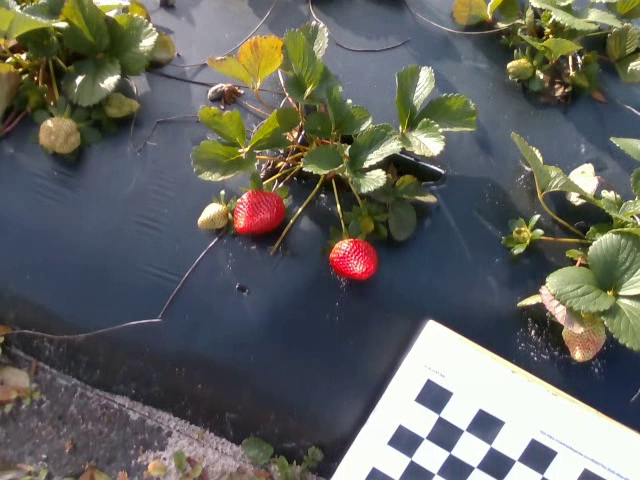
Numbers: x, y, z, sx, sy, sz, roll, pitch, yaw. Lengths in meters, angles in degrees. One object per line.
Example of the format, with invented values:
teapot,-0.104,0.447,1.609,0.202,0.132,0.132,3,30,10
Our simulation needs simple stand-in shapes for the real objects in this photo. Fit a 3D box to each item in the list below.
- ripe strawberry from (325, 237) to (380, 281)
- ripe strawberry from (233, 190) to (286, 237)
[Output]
ripe strawberry,0.022,0.014,0.380,0.034,0.037,0.039,34,24,-14
ripe strawberry,-0.040,-0.017,0.385,0.035,0.041,0.036,16,35,13
